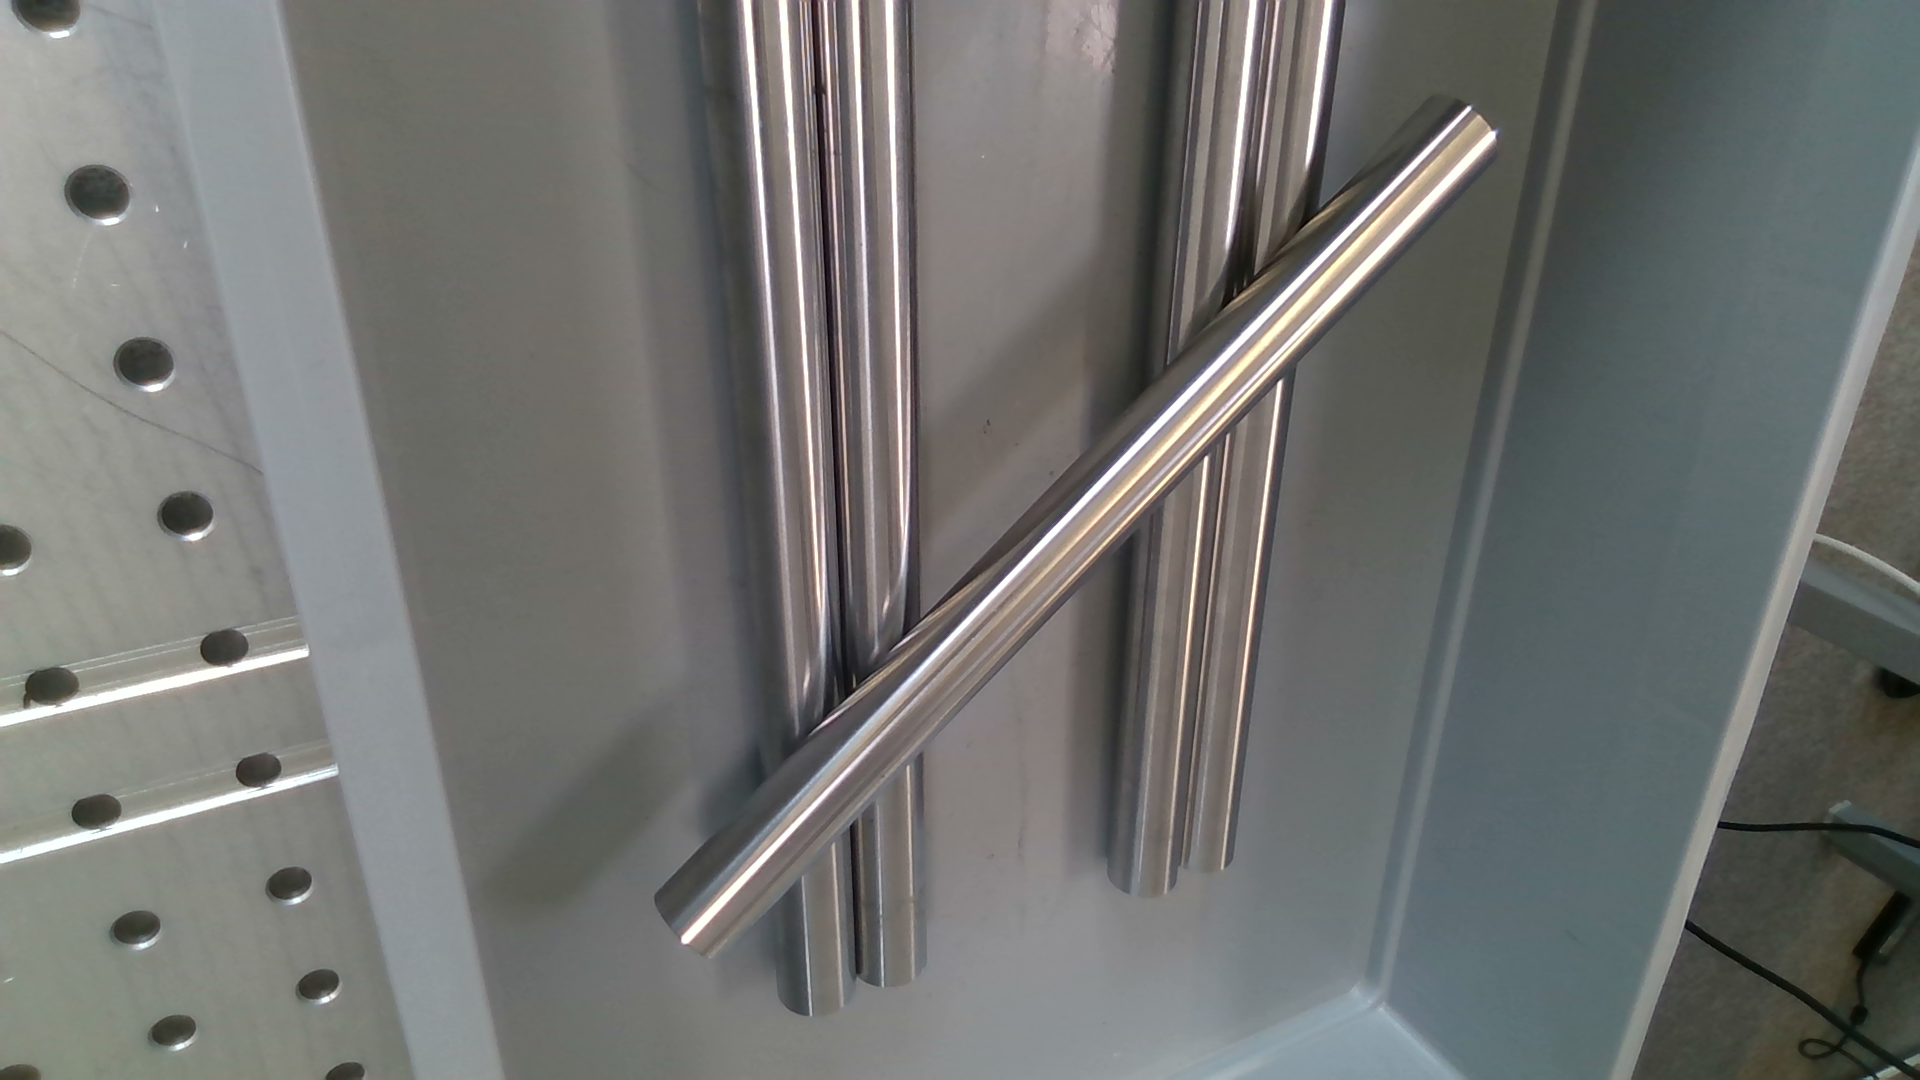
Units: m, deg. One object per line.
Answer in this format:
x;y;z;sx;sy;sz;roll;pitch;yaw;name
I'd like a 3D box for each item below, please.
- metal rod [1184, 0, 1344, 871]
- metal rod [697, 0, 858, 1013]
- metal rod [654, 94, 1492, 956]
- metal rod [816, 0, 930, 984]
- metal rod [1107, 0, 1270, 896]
0.088;-0.020;0.431;0.025;0.025;0.301;-14;121;-25;metal rod
-0.044;0.008;0.365;0.025;0.025;0.301;-14;122;-25;metal rod
0.032;-0.006;0.373;0.300;0.025;0.025;-46;129;-2;metal rod
-0.022;0.003;0.376;0.025;0.025;0.301;-14;122;-25;metal rod
0.066;-0.014;0.421;0.025;0.025;0.301;-14;121;-25;metal rod
